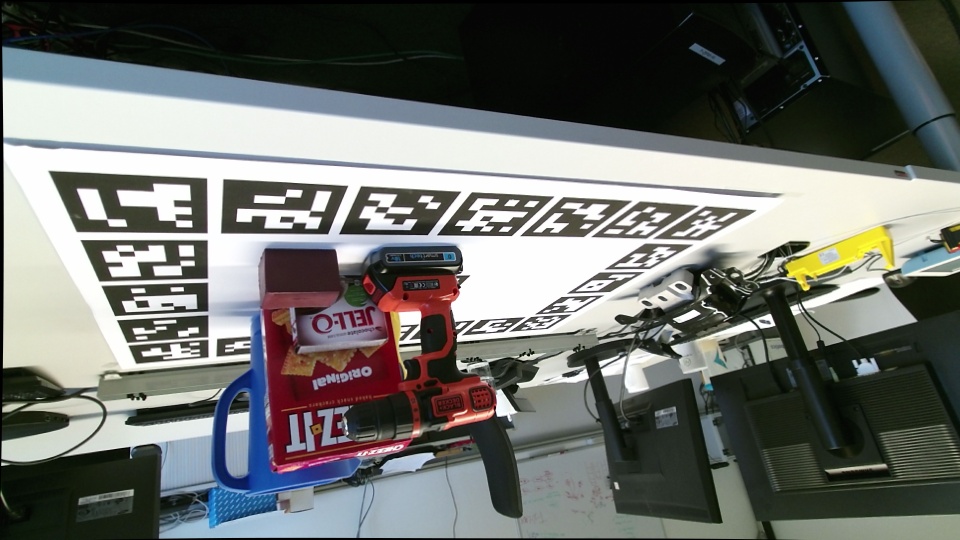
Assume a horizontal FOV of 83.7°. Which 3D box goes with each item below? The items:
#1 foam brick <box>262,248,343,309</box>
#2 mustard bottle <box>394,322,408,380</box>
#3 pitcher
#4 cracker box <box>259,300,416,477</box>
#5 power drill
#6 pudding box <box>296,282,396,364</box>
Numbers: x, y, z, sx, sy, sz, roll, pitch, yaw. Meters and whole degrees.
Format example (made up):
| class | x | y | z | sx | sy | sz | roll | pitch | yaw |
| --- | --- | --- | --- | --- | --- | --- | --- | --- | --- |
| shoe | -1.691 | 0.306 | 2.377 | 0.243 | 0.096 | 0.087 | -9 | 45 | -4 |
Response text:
| class | x | y | z | sx | sy | sz | roll | pitch | yaw |
| --- | --- | --- | --- | --- | --- | --- | --- | --- | --- |
| foam brick | -0.201 | 0.009 | 0.608 | 0.078 | 0.051 | 0.053 | 0 | 152 | -30 |
| mustard bottle | -0.151 | 0.172 | 0.814 | 0.096 | 0.190 | 0.058 | 6 | 150 | -40 |
| pitcher | -0.267 | 0.185 | 0.747 | 0.189 | 0.241 | 0.133 | 0 | 154 | -34 |
| cracker box | -0.184 | 0.135 | 0.690 | 0.165 | 0.212 | 0.072 | -5 | 158 | -27 |
| power drill | -0.073 | 0.099 | 0.628 | 0.185 | 0.186 | 0.057 | -2 | 158 | -26 |
| pudding box | -0.170 | 0.065 | 0.674 | 0.114 | 0.089 | 0.039 | -4 | 157 | -30 |
